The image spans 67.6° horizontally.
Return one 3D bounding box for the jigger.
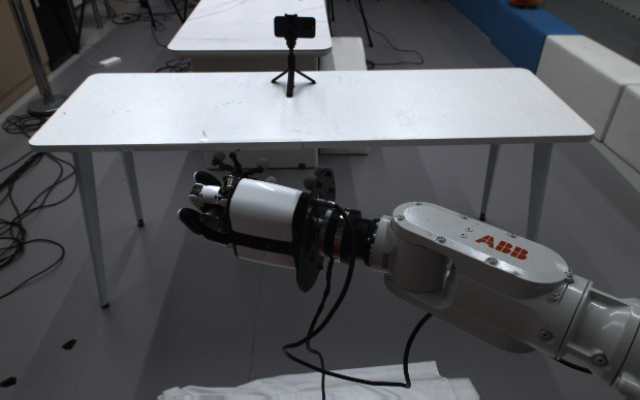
[{"bbox_3d":[-0.124,0.005,0.649,0.043,0.043,0.071,13,58,16],"label":"jigger"}]
